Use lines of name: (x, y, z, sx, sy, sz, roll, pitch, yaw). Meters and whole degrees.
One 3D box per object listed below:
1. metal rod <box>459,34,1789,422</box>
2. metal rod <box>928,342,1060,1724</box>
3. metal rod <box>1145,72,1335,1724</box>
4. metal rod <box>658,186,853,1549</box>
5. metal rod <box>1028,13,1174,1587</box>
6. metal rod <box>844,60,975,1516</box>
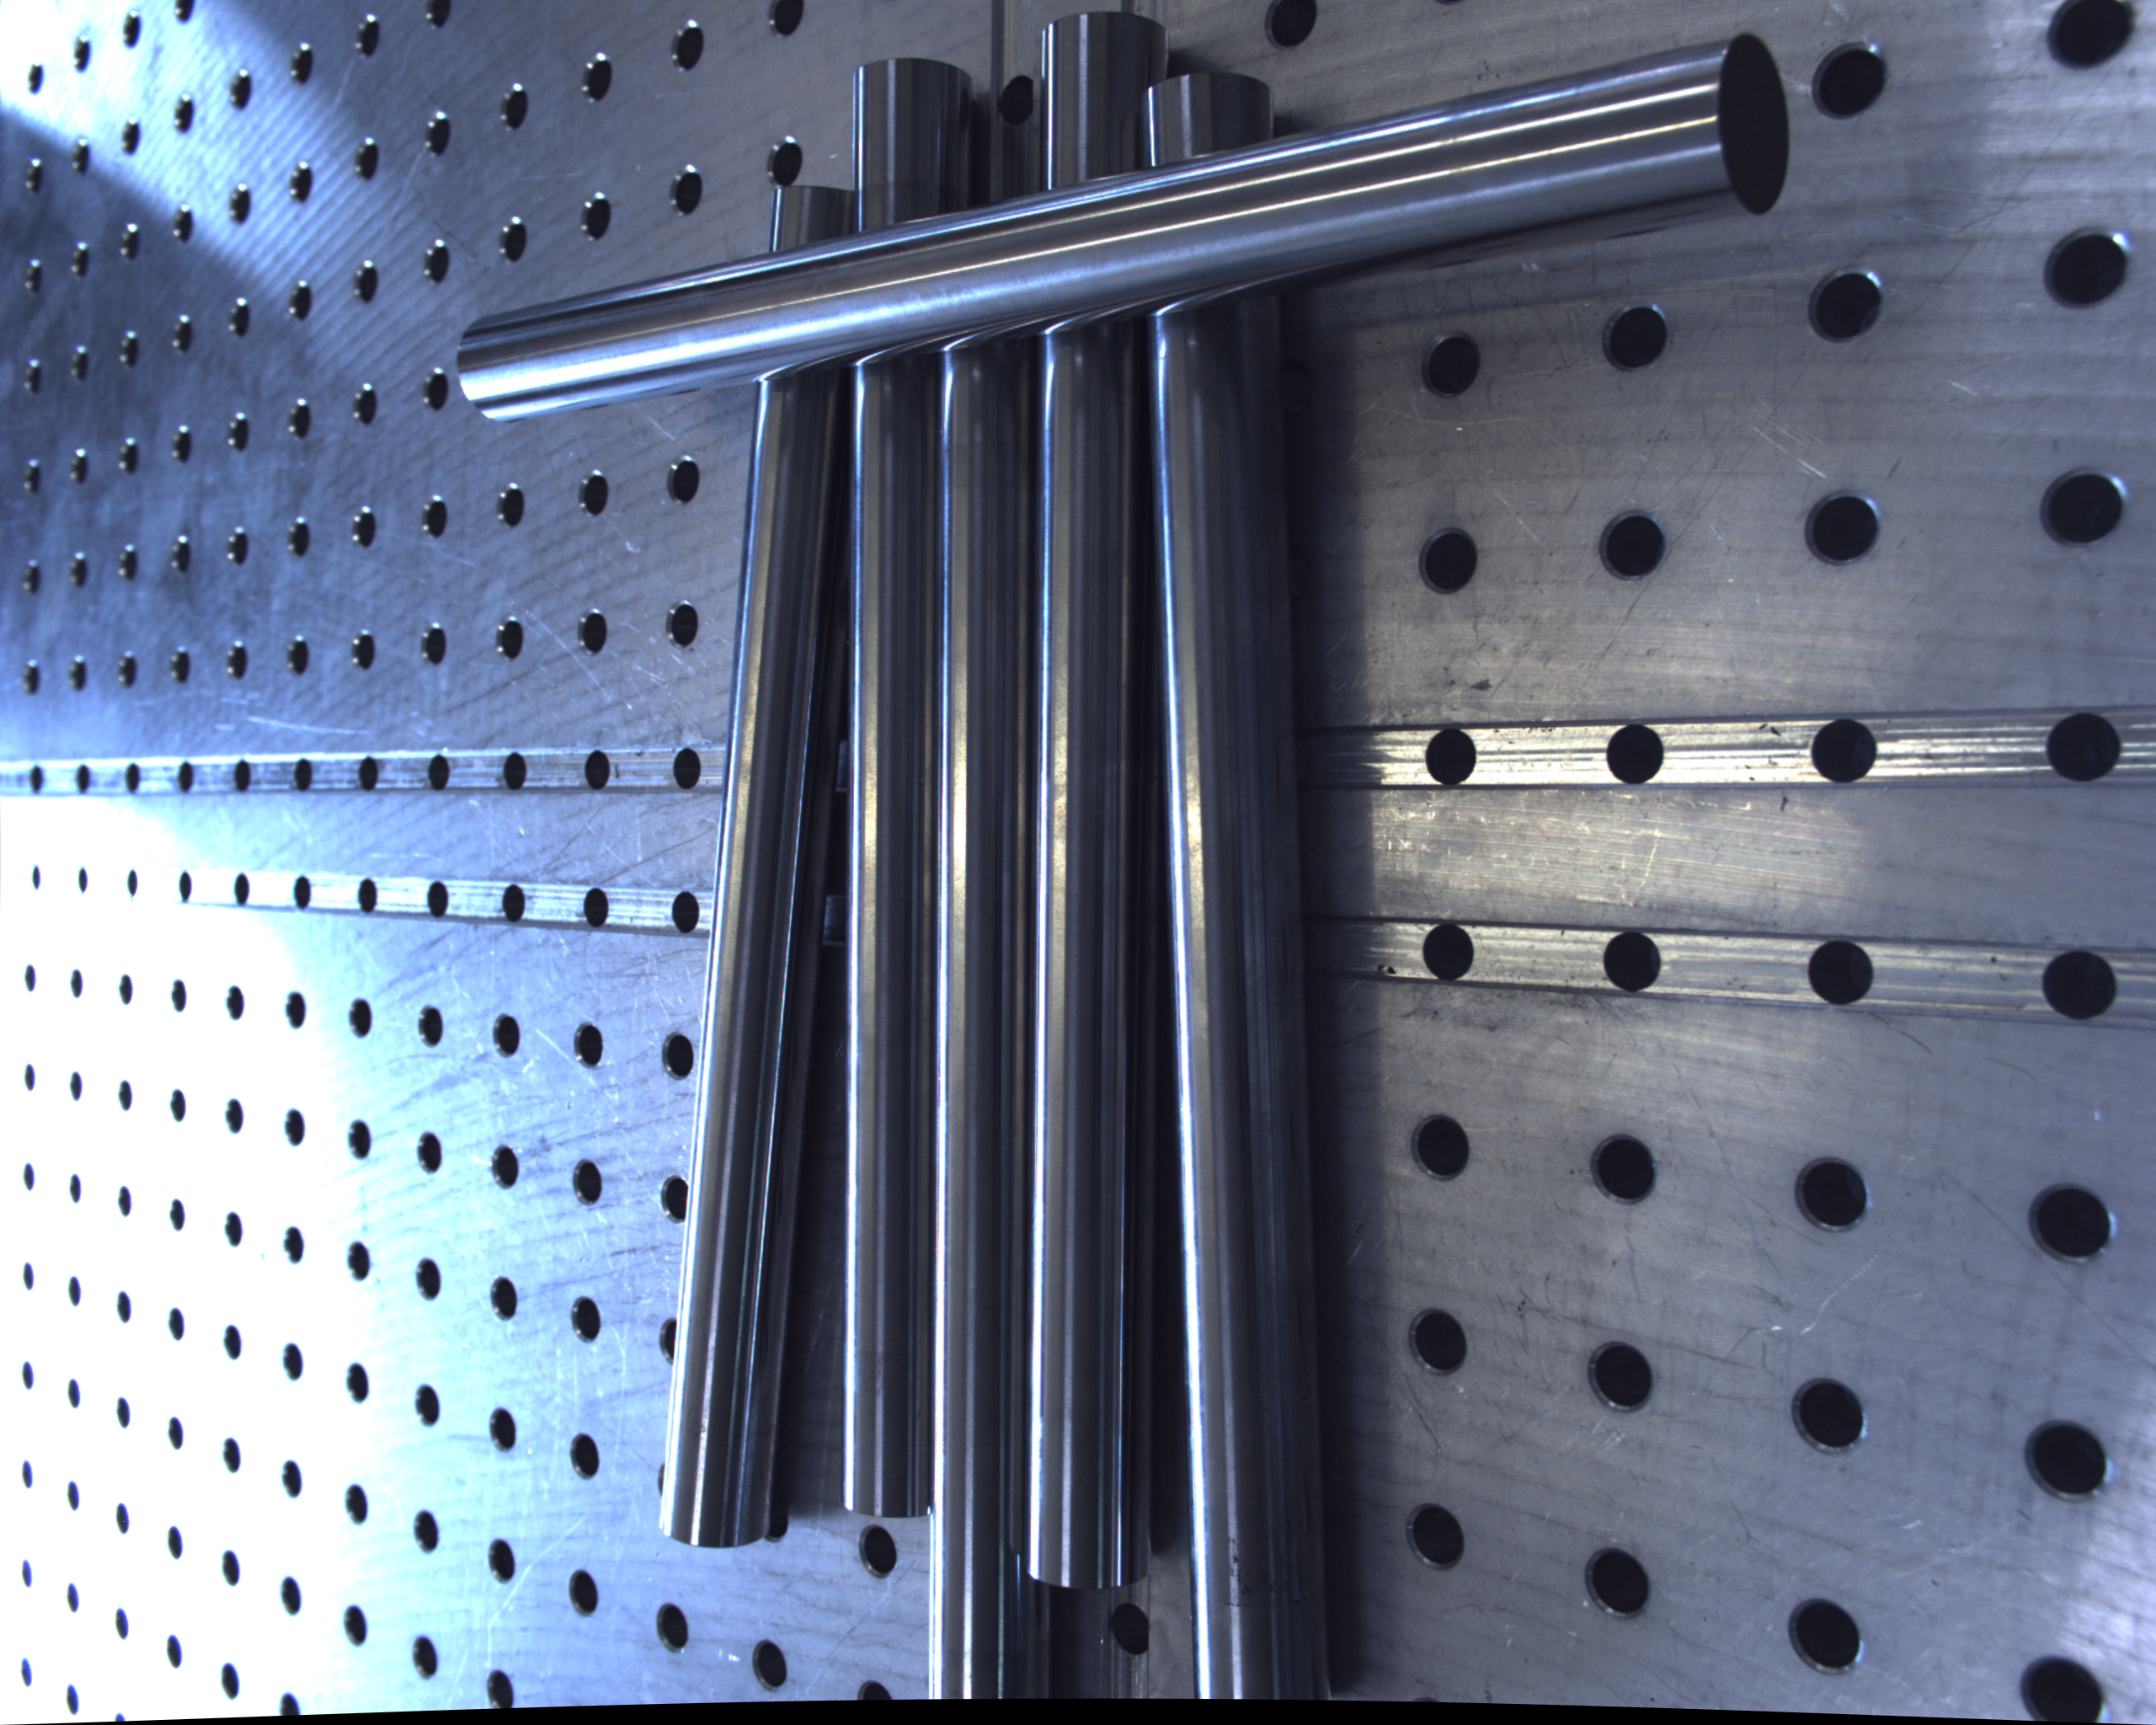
metal rod: (-0.019, -0.110, 0.393, 0.300, 0.025, 0.025, 3, 92, 40)
metal rod: (-0.017, 0.041, 0.424, 0.025, 0.025, 0.298, 1, 91, 40)
metal rod: (0.030, 0.006, 0.386, 0.025, 0.025, 0.298, -3, 88, 40)
metal rod: (-0.069, 0.004, 0.466, 0.025, 0.025, 0.298, 9, 96, 40)
metal rod: (0.004, -0.011, 0.408, 0.025, 0.025, 0.298, 1, 91, 40)
metal rod: (-0.035, -0.015, 0.440, 0.025, 0.025, 0.298, 1, 91, 40)
